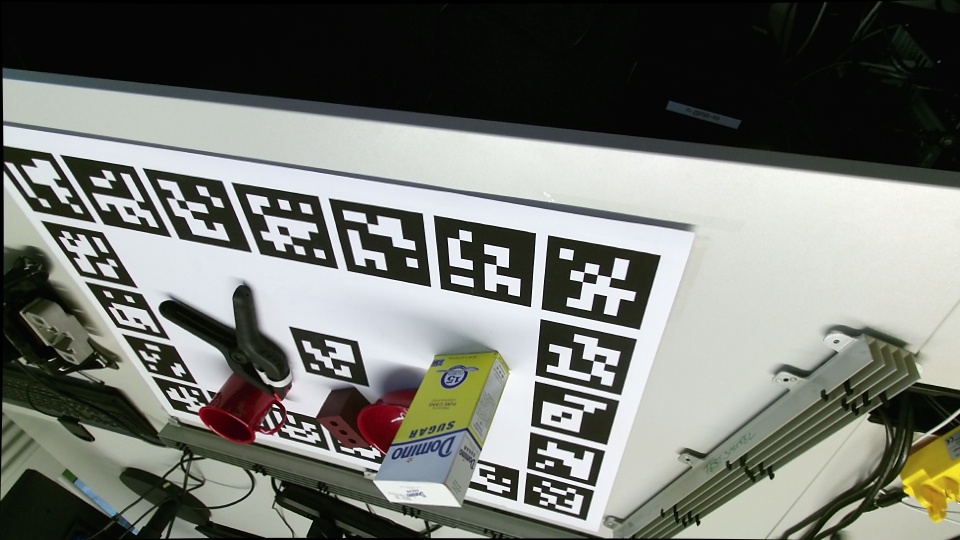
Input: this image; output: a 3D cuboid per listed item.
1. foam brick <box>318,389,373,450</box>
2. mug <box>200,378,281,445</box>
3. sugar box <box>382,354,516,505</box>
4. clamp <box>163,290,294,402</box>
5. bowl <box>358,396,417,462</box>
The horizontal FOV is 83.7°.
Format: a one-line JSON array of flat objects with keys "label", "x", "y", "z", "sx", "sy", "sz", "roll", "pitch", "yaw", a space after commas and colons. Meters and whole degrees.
[{"label": "foam brick", "x": -0.194, "y": 0.222, "z": 0.795, "sx": 0.053, "sy": 0.051, "sz": 0.078, "roll": -14, "pitch": 121, "yaw": 28}, {"label": "mug", "x": -0.364, "y": 0.226, "z": 0.830, "sx": 0.117, "sy": 0.081, "sz": 0.093, "roll": 32, "pitch": 132, "yaw": -2}, {"label": "sugar box", "x": -0.029, "y": 0.172, "z": 0.603, "sx": 0.093, "sy": 0.176, "sz": 0.045, "roll": -10, "pitch": 121, "yaw": 29}, {"label": "clamp", "x": -0.328, "y": 0.121, "z": 0.756, "sx": 0.166, "sy": 0.036, "sz": 0.203, "roll": -10, "pitch": 122, "yaw": 25}, {"label": "bowl", "x": -0.084, "y": 0.226, "z": 0.747, "sx": 0.162, "sy": 0.055, "sz": 0.162, "roll": 11, "pitch": 130, "yaw": 13}]
